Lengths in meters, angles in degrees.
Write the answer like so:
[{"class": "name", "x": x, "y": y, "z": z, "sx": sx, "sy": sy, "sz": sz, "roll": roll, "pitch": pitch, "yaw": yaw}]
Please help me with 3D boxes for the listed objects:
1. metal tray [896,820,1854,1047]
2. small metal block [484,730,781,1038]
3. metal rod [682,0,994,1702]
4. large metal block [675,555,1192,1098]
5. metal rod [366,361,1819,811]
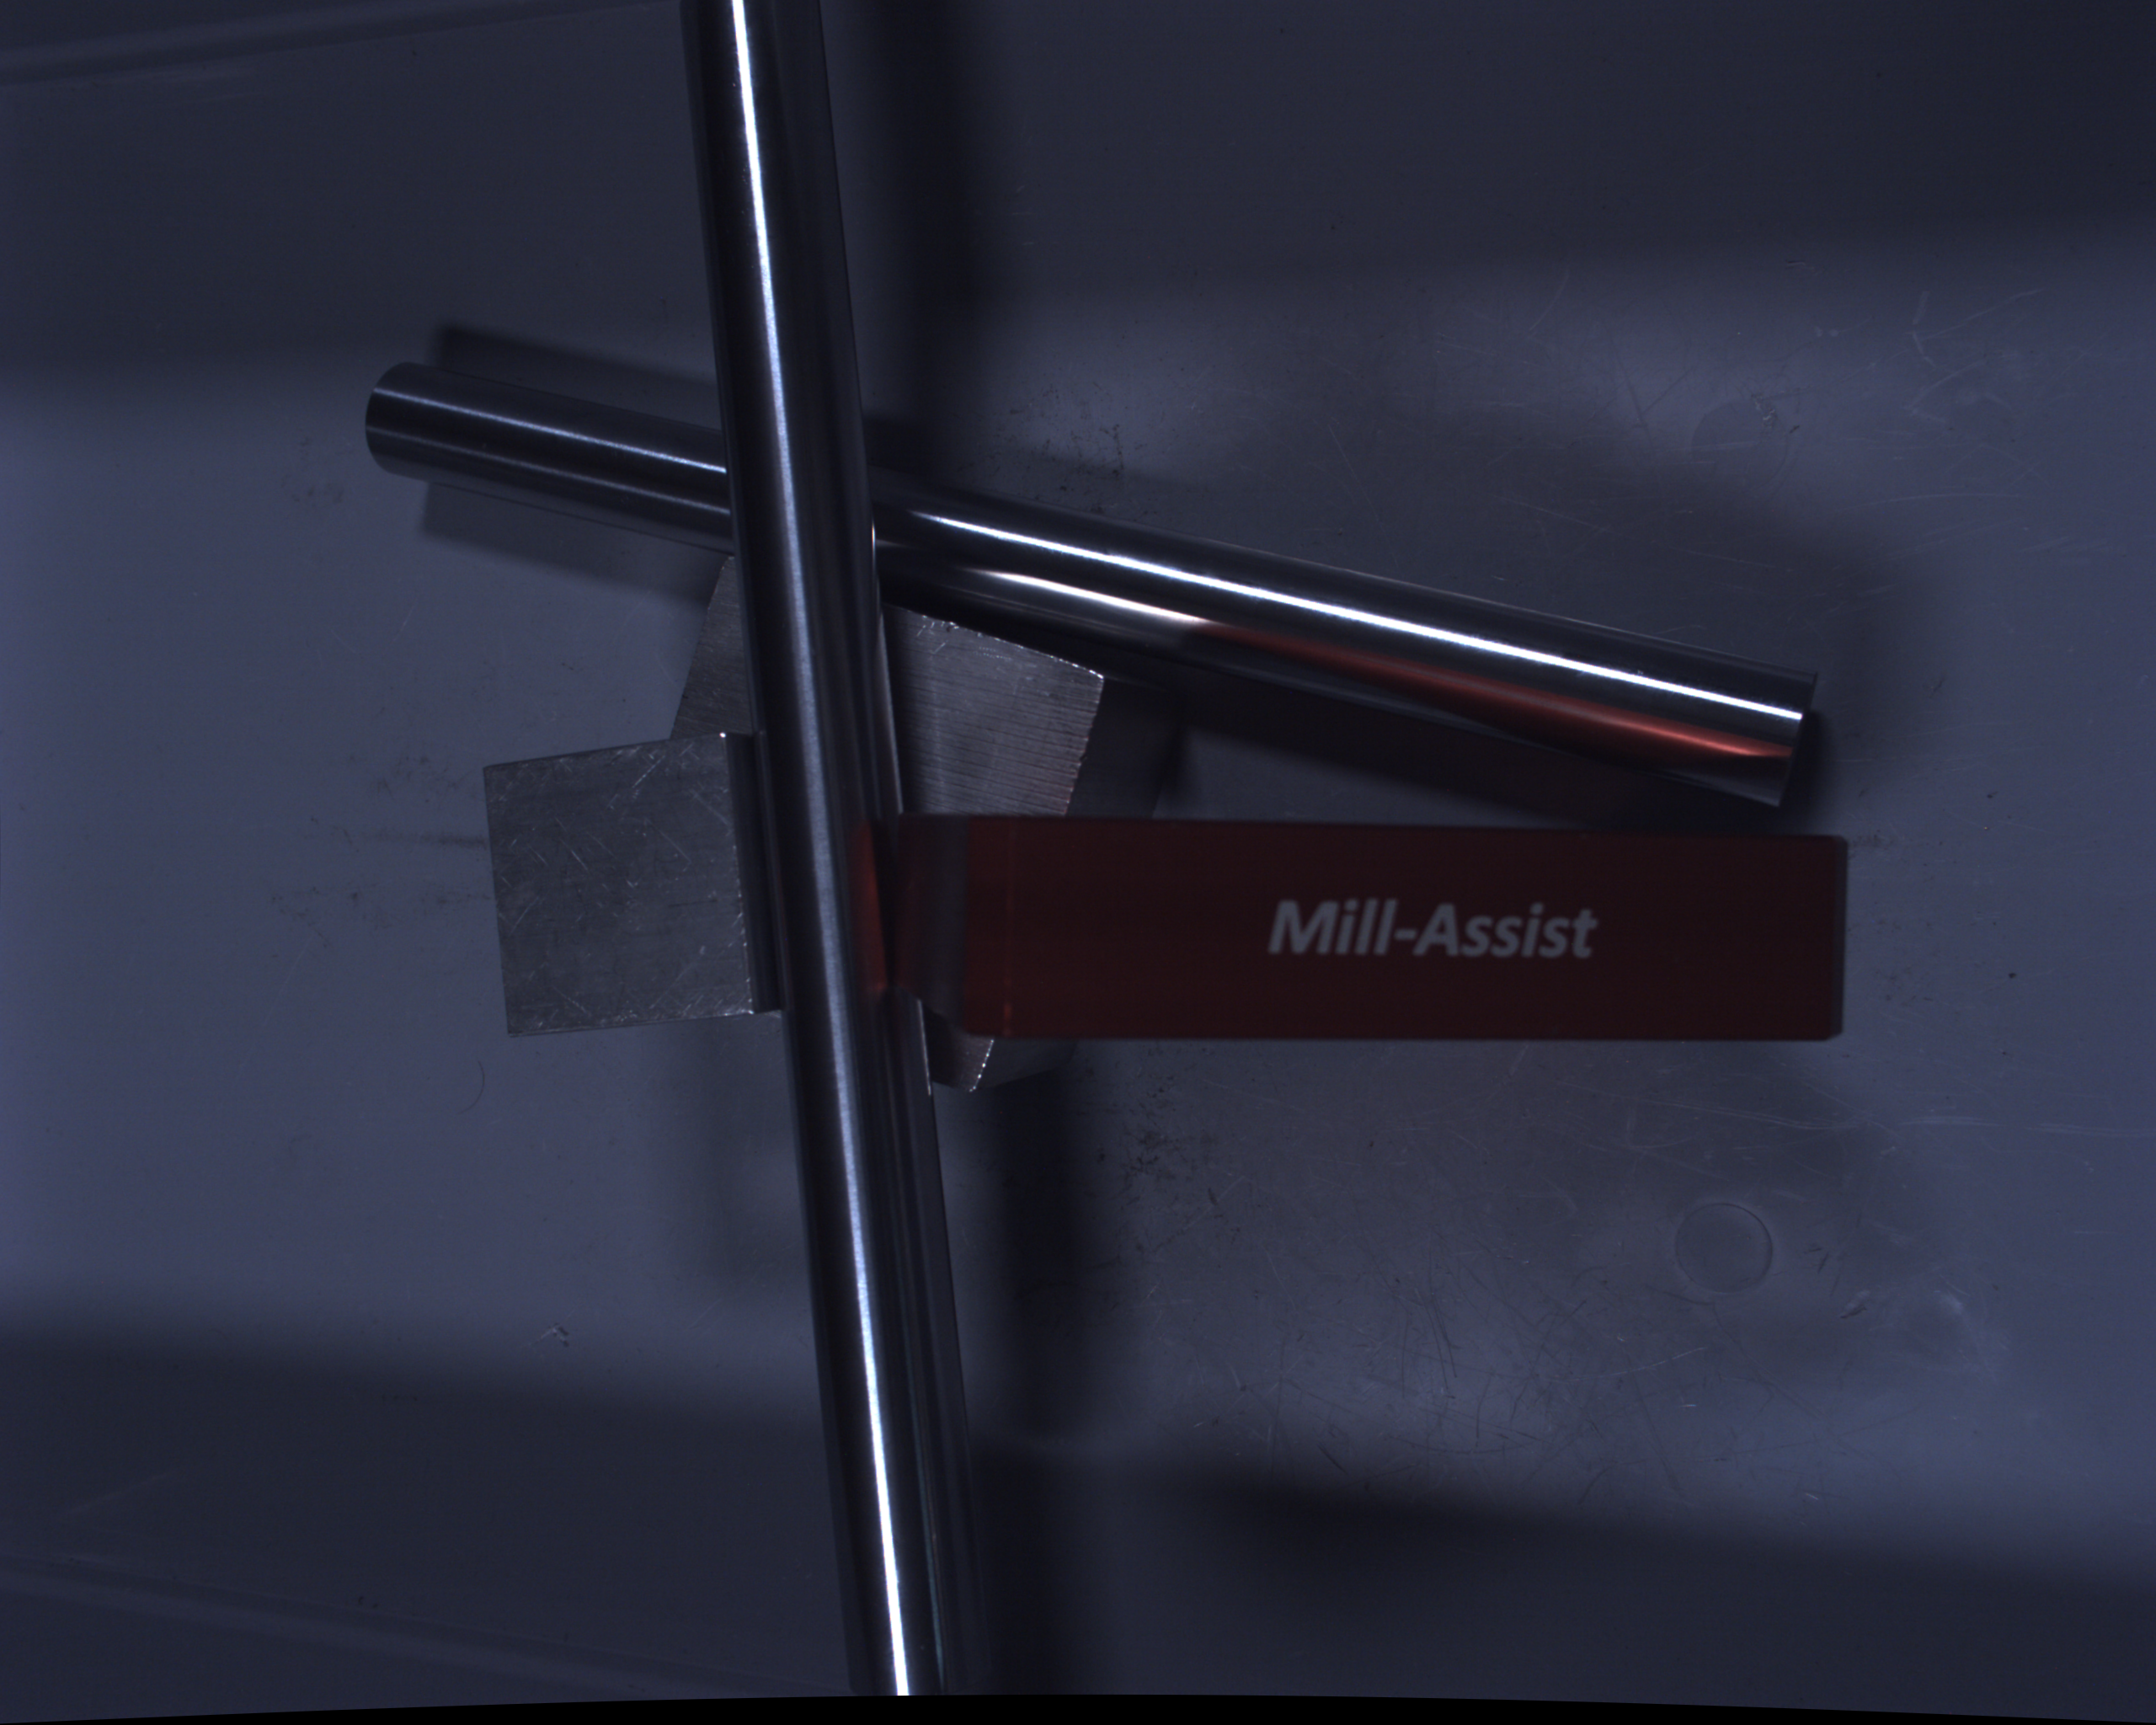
[{"class": "metal tray", "x": 0.041, "y": 0.009, "z": 0.331, "sx": 0.131, "sy": 0.090, "sz": 0.030, "roll": 1, "pitch": 91, "yaw": -12}, {"class": "small metal block", "x": -0.078, "y": 0.004, "z": 0.382, "sx": 0.050, "sy": 0.025, "sz": 0.050, "roll": -7, "pitch": 87, "yaw": 19}, {"class": "metal rod", "x": -0.043, "y": -0.006, "z": 0.370, "sx": 0.025, "sy": 0.025, "sz": 0.298, "roll": -7, "pitch": 88, "yaw": 19}, {"class": "large metal block", "x": -0.034, "y": -0.008, "z": 0.407, "sx": 0.080, "sy": 0.050, "sz": 0.080, "roll": 19, "pitch": 96, "yaw": 18}, {"class": "metal rod", "x": -0.011, "y": -0.060, "z": 0.413, "sx": 0.301, "sy": 0.025, "sz": 0.025, "roll": 16, "pitch": 95, "yaw": 18}]
